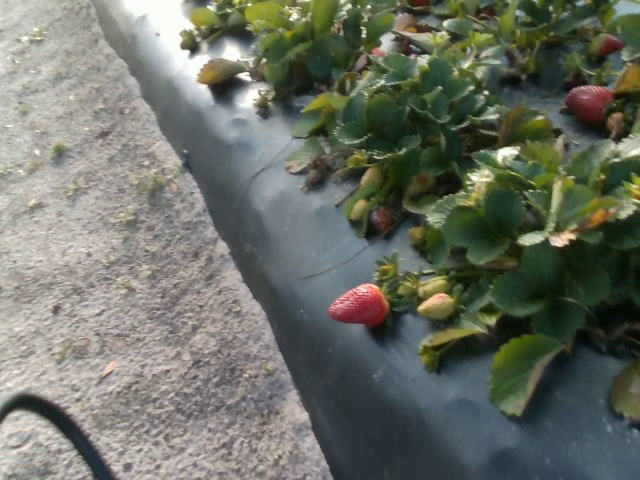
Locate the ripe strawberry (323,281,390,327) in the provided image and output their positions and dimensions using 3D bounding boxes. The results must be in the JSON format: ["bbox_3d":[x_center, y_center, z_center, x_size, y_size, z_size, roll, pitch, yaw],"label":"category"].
[{"bbox_3d":[0.042,0.071,0.712,0.067,0.044,0.053,-17,40,-14],"label":"ripe strawberry"}]
